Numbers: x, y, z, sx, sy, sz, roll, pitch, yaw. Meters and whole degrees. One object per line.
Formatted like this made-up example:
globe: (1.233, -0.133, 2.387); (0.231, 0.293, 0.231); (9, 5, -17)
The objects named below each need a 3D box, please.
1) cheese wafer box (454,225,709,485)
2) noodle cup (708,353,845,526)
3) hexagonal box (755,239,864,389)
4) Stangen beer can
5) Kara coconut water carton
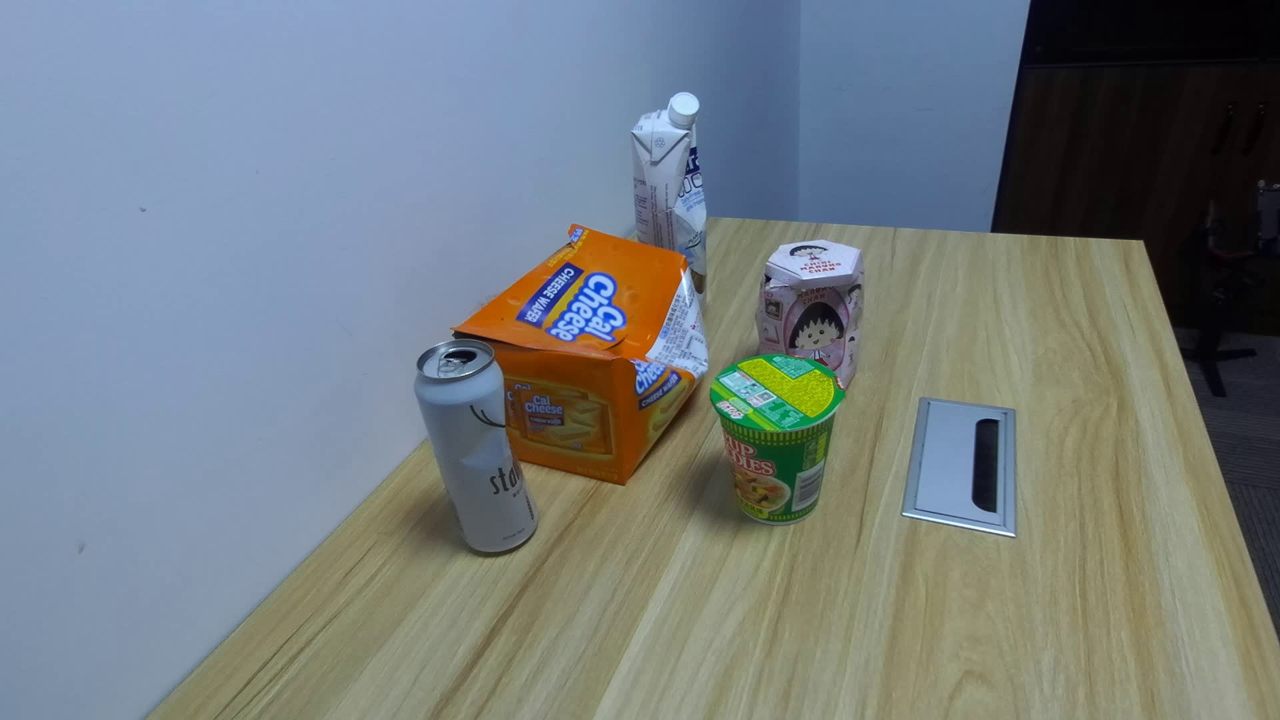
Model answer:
cheese wafer box: (-0.029, -0.016, 0.674); (0.190, 0.145, 0.219); (8, 36, 24)
noodle cup: (0.106, 0.067, 0.548); (0.097, 0.110, 0.097); (-6, 32, 4)
hexagonal box: (0.162, -0.038, 0.681); (0.091, 0.135, 0.090); (14, 35, 31)
Stangen beer can: (-0.121, 0.068, 0.543); (0.069, 0.173, 0.070); (7, 34, 23)
Kara coconut water carton: (0.033, -0.161, 0.782); (0.078, 0.256, 0.083); (12, 37, 24)
